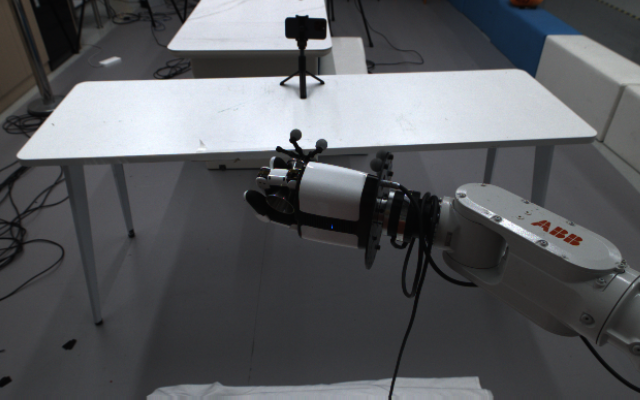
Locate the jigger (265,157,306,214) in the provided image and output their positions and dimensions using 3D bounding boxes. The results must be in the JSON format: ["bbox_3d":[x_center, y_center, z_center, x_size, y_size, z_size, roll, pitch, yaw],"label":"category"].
[{"bbox_3d":[-0.042,-0.022,0.679,0.043,0.043,0.071,15,58,18],"label":"jigger"}]
